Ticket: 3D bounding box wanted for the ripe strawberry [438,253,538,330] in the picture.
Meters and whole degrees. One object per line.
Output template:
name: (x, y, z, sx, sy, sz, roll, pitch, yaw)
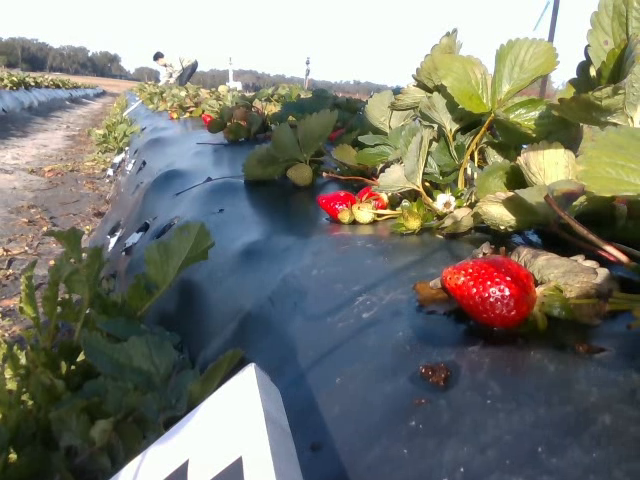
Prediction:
ripe strawberry: (0.068, 0.021, 0.279, 0.054, 0.038, 0.046, 10, 29, 0)
